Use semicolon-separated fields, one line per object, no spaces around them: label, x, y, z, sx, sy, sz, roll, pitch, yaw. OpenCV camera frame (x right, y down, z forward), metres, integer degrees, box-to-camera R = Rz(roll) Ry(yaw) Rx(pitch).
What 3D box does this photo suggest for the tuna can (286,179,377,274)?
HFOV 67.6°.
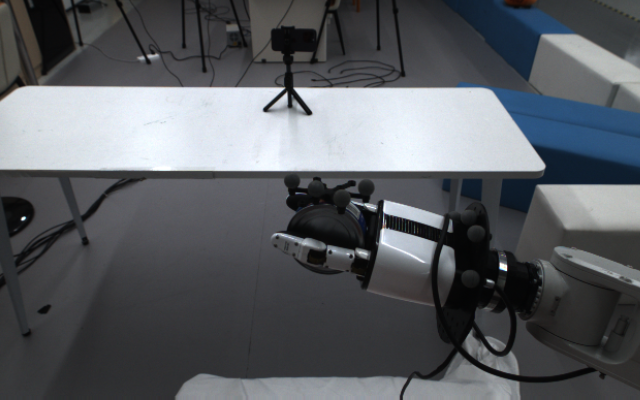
tuna can;0.010;0.036;0.535;0.085;0.085;0.034;9;23;10
